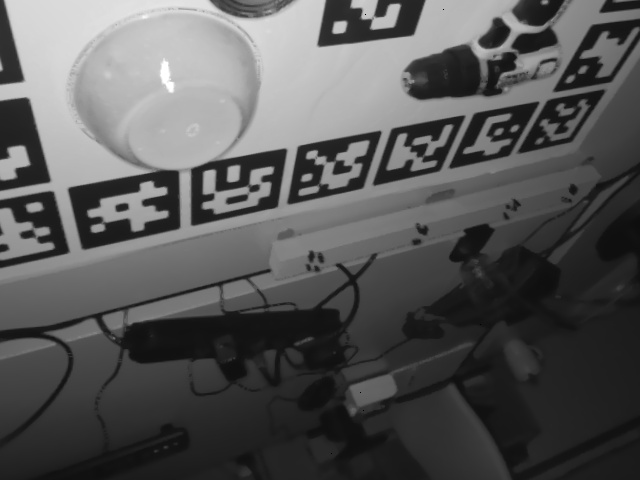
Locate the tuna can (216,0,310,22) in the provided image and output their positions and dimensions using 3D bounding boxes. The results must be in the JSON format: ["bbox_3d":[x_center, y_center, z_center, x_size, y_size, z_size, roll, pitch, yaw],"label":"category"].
[{"bbox_3d":[-0.040,-0.200,0.491,0.086,0.034,0.085,-17,149,-10],"label":"tuna can"}]

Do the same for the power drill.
[{"bbox_3d":[0.194,-0.222,0.621,0.186,0.057,0.184,-11,150,-17],"label":"power drill"}]

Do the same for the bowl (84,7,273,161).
[{"bbox_3d":[-0.105,-0.114,0.575,0.163,0.055,0.160,-22,157,-9],"label":"bowl"}]
